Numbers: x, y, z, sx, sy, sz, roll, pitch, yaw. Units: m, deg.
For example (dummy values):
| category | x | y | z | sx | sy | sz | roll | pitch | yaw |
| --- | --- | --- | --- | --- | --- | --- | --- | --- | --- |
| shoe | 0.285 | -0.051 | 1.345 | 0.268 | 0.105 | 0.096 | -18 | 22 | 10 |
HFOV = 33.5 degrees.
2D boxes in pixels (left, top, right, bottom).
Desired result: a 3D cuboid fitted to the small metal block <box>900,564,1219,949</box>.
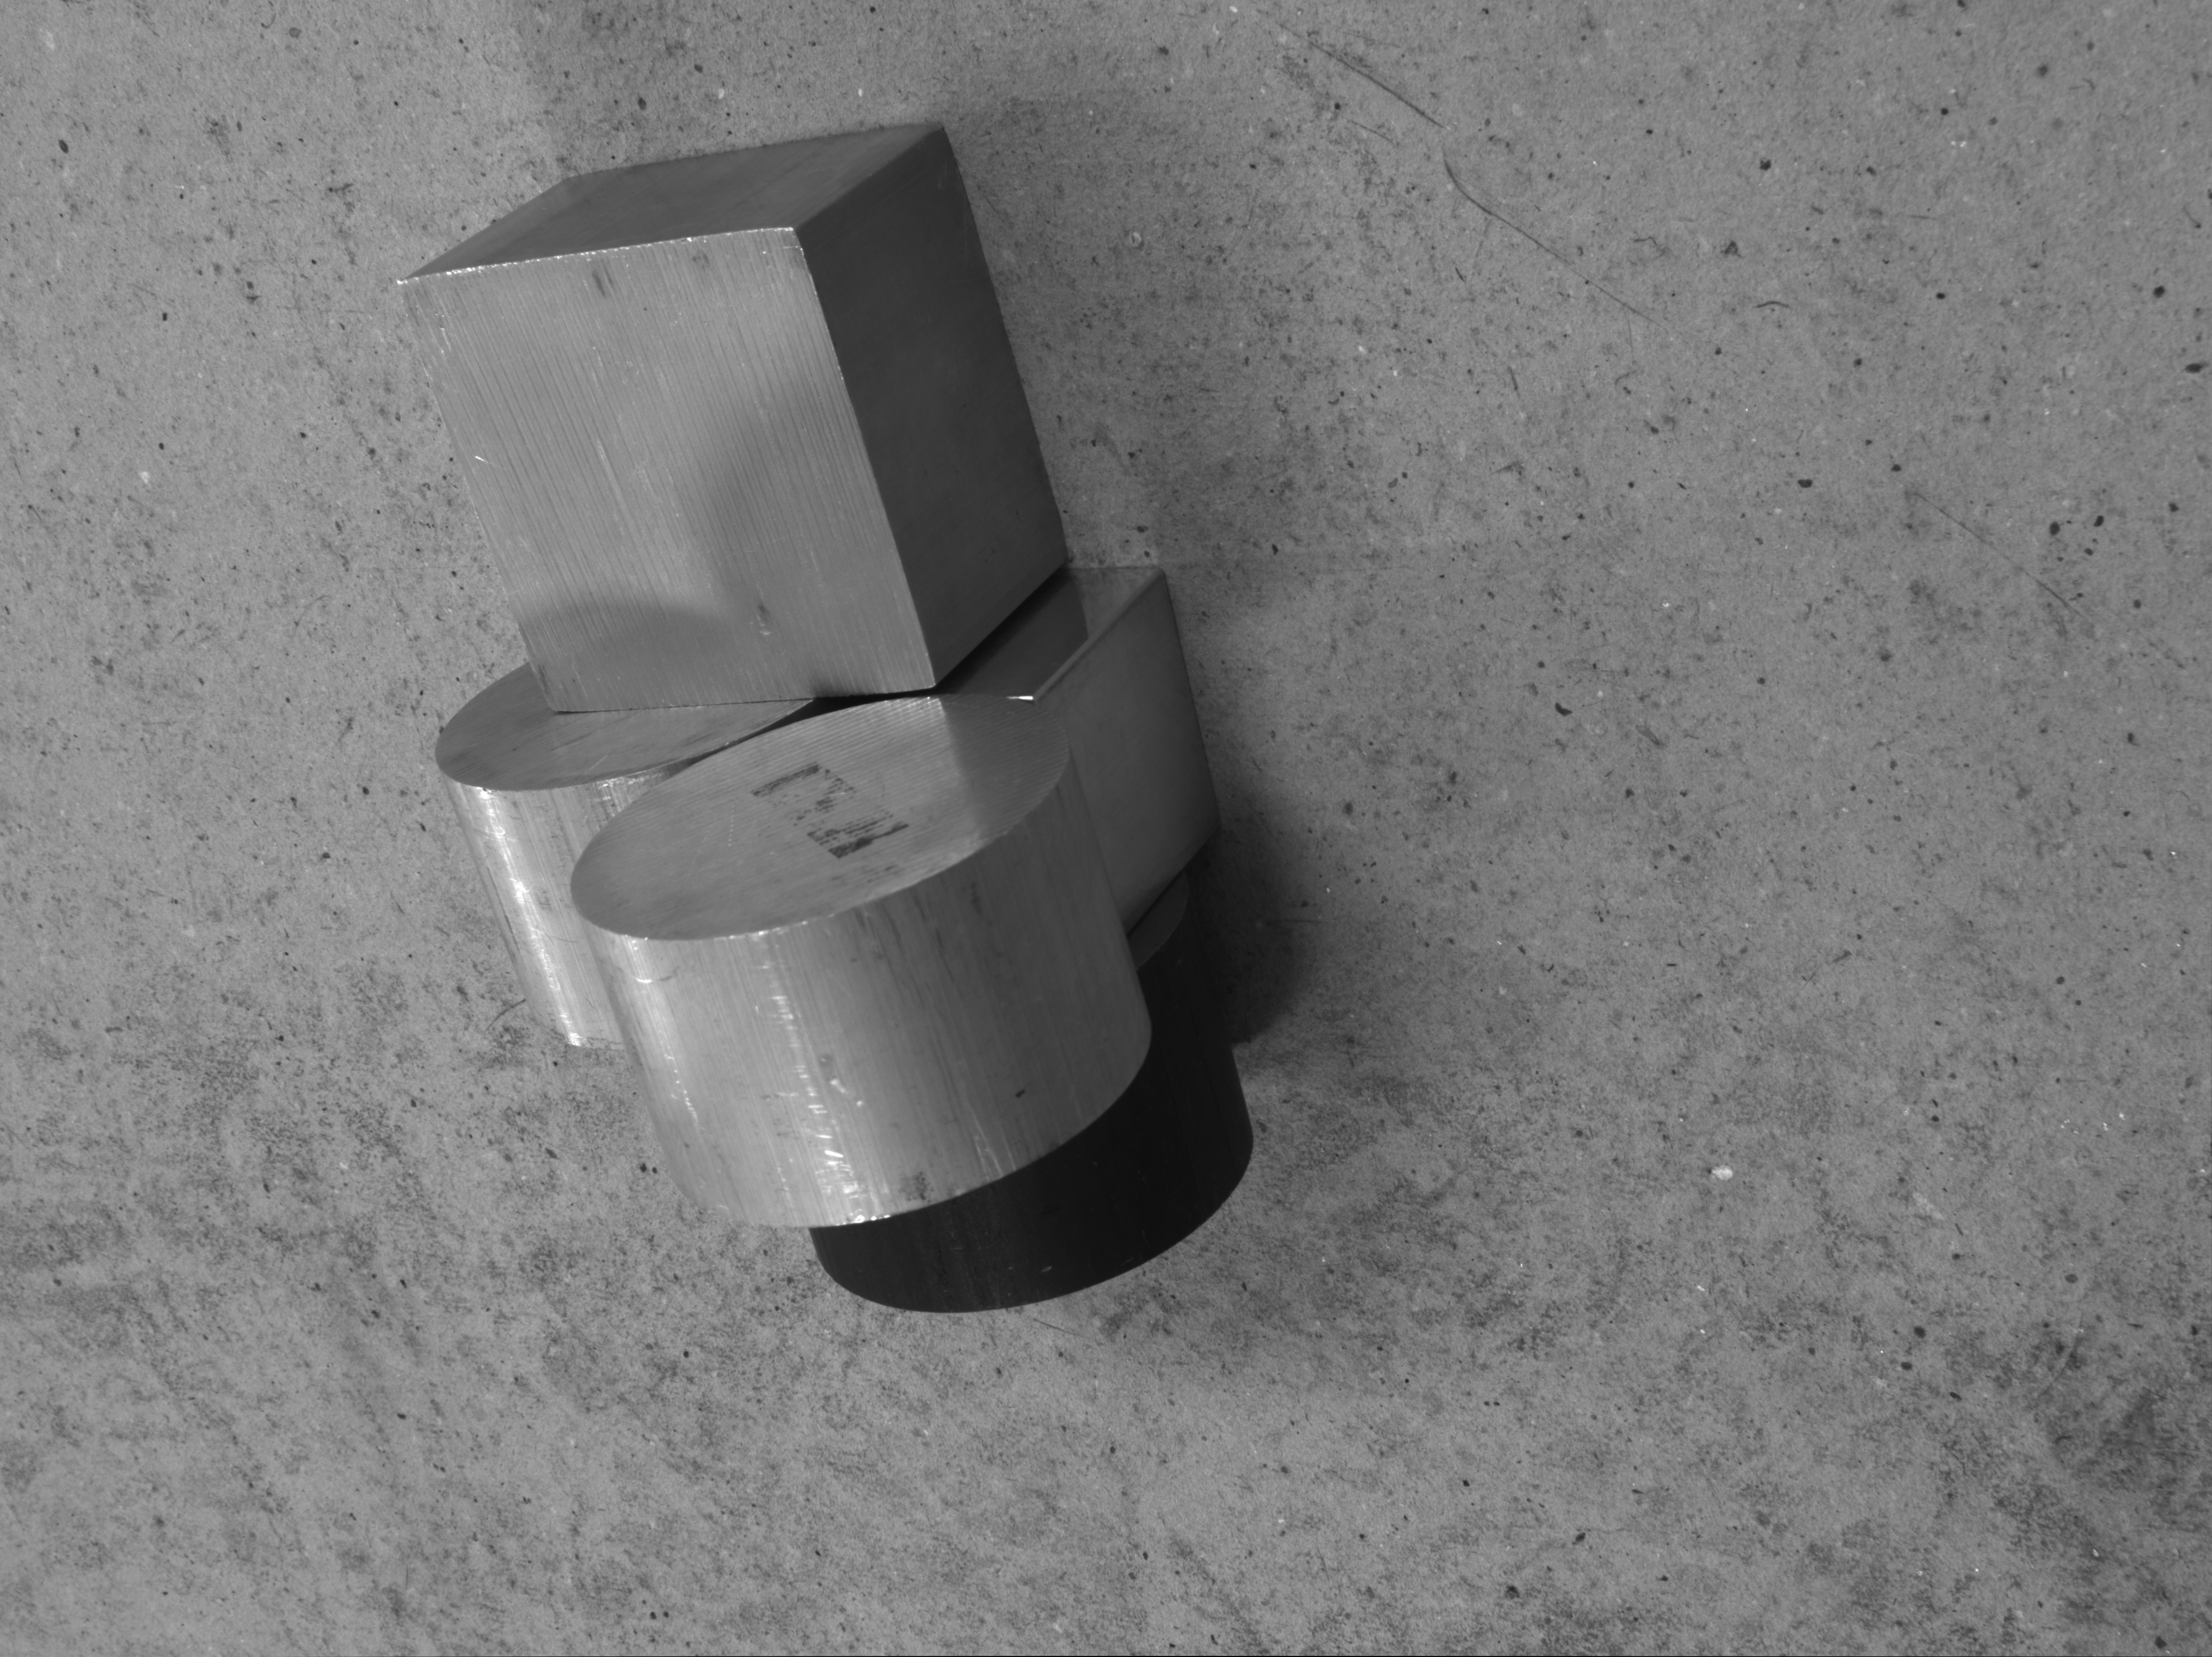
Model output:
| category | x | y | z | sx | sy | sz | roll | pitch | yaw |
| --- | --- | --- | --- | --- | --- | --- | --- | --- | --- |
| small metal block | -0.007 | -0.012 | 0.626 | 0.025 | 0.050 | 0.050 | 1 | 119 | 28 |

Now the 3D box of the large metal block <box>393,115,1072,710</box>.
| category | x | y | z | sx | sy | sz | roll | pitch | yaw |
| --- | --- | --- | --- | --- | --- | --- | --- | --- | --- |
| large metal block | -0.061 | -0.069 | 0.619 | 0.080 | 0.050 | 0.080 | -2 | 117 | 29 |

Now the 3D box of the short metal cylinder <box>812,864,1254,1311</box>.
| category | x | y | z | sx | sy | sz | roll | pitch | yaw |
| --- | --- | --- | --- | --- | --- | --- | --- | --- | --- |
| short metal cylinder | -0.019 | 0.041 | 0.643 | 0.080 | 0.080 | 0.050 | 0 | 118 | 29 |

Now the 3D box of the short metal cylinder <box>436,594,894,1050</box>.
| category | x | y | z | sx | sy | sz | roll | pitch | yaw |
| --- | --- | --- | --- | --- | --- | --- | --- | --- | --- |
| short metal cylinder | -0.071 | -0.003 | 0.644 | 0.080 | 0.080 | 0.050 | -2 | 117 | 29 |

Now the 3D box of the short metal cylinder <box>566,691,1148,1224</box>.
| category | x | y | z | sx | sy | sz | roll | pitch | yaw |
| --- | --- | --- | --- | --- | --- | --- | --- | --- | --- |
| short metal cylinder | -0.038 | 0.019 | 0.576 | 0.080 | 0.080 | 0.050 | -2 | 117 | 29 |
